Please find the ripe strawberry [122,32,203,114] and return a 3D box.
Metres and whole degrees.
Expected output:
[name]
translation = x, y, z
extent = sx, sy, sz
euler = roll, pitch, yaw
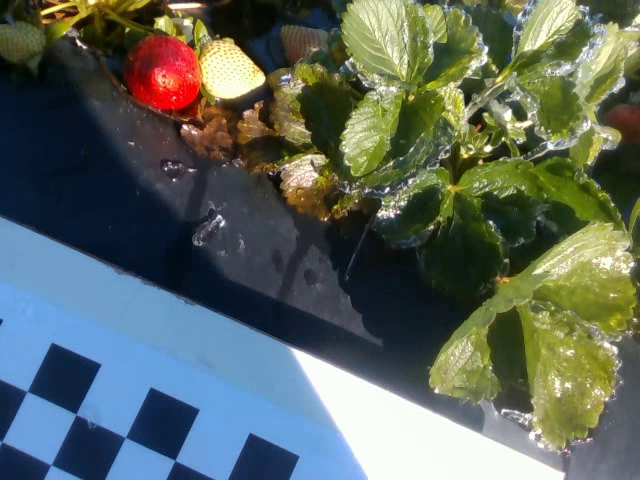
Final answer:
[ripe strawberry]
translation = -0.073, -0.076, 0.301
extent = 0.040, 0.042, 0.053
euler = -11, 20, -7
